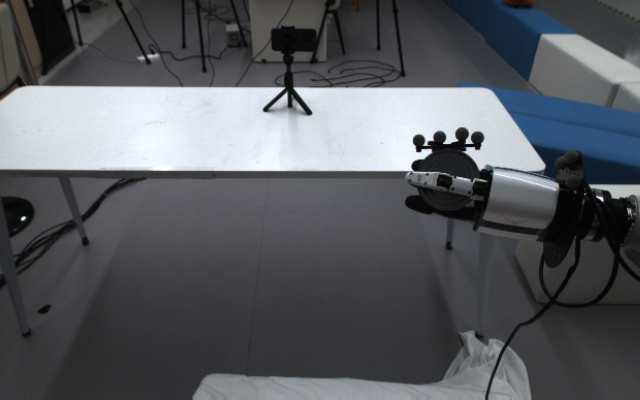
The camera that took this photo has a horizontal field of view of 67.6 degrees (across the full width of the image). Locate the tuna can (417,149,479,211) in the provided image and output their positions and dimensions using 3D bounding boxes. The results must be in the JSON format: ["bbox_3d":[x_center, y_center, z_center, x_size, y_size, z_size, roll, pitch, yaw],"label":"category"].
[{"bbox_3d":[0.180,-0.029,0.681,0.085,0.085,0.034,15,2,18],"label":"tuna can"}]
